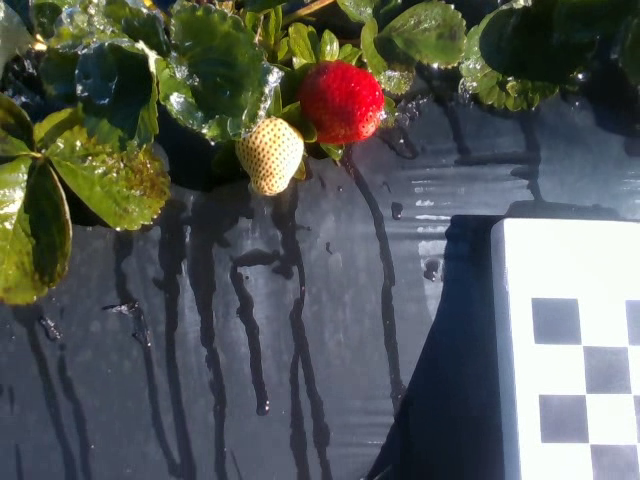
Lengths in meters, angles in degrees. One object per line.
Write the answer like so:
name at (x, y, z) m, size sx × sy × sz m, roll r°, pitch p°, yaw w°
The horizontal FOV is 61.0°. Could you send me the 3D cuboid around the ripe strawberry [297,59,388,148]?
ripe strawberry at (0.016, -0.061, 0.267) m, size 0.043 × 0.046 × 0.061 m, roll -13°, pitch 39°, yaw -5°
